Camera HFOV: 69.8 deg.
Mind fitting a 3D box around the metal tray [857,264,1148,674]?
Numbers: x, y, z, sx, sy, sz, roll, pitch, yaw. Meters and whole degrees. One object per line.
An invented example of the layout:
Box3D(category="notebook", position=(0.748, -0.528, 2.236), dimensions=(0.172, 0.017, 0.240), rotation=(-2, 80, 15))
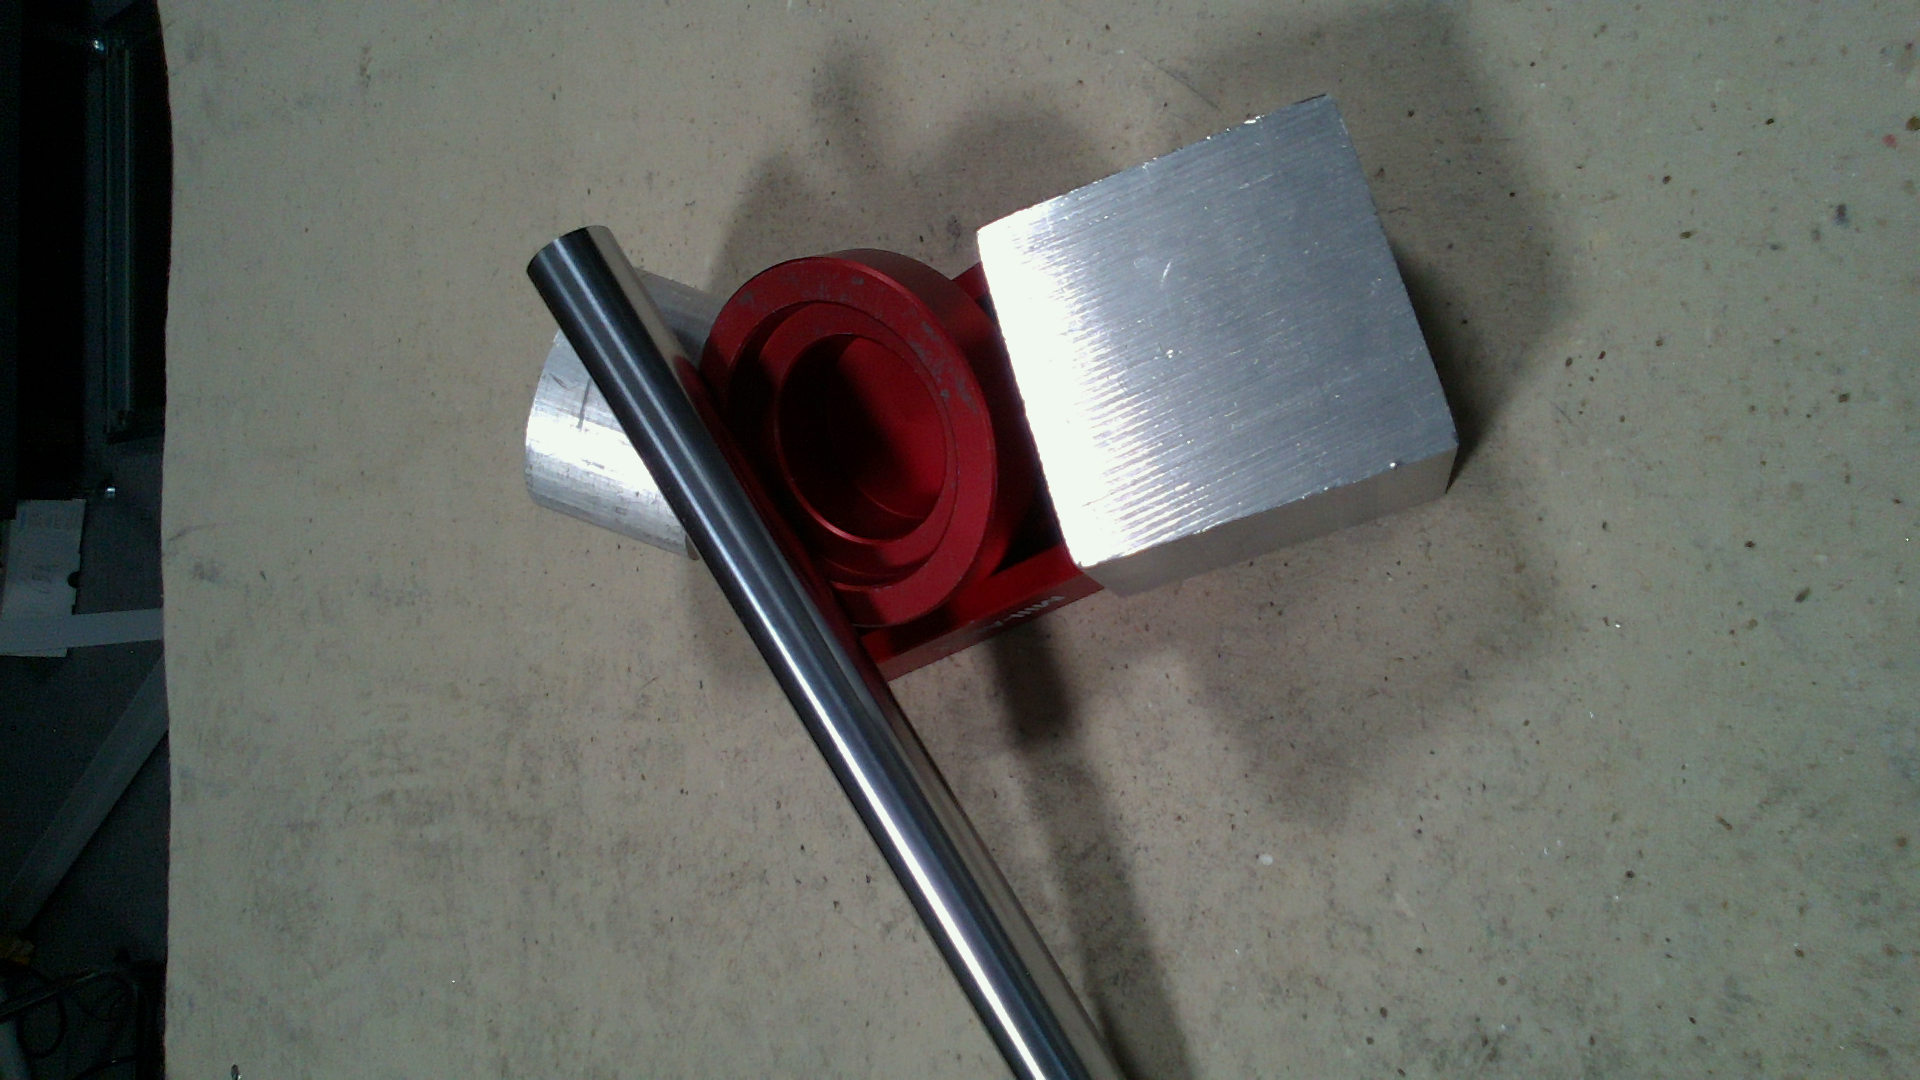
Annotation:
Box3D(category="metal tray", position=(-0.003, -0.019, 0.394), dimensions=(0.130, 0.030, 0.090), rotation=(-26, 73, 37))

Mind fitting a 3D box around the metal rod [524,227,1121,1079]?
Box3D(category="metal rod", position=(-0.027, 0.051, 0.360), dimensions=(0.025, 0.025, 0.300), rotation=(-34, 86, 35))

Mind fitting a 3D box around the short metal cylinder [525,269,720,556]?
Box3D(category="short metal cylinder", position=(-0.093, -0.040, 0.429), dimensions=(0.050, 0.080, 0.080), rotation=(19, 105, 2))

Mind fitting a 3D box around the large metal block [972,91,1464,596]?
Box3D(category="large metal block", position=(0.057, -0.039, 0.308), dimensions=(0.080, 0.050, 0.080), rotation=(-19, 77, 12))

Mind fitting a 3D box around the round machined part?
Box3D(category="round machined part", position=(-0.022, -0.030, 0.371), dimensions=(0.098, 0.042, 0.098), rotation=(12, 112, 32))
